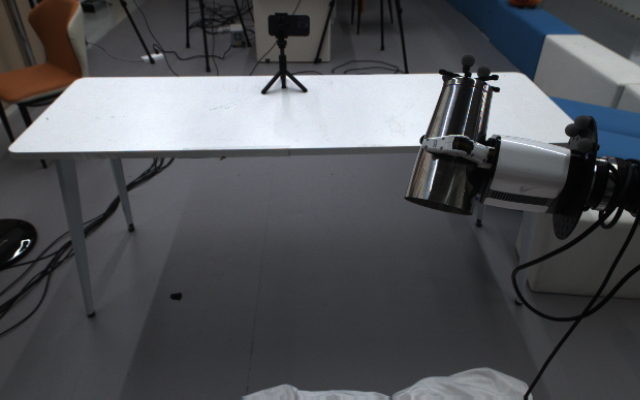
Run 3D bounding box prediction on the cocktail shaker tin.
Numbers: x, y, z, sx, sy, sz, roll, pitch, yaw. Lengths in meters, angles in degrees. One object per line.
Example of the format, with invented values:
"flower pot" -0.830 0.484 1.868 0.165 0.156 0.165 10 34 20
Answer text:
"cocktail shaker tin" 0.180 -0.074 0.653 0.093 0.170 0.093 16 -4 1
